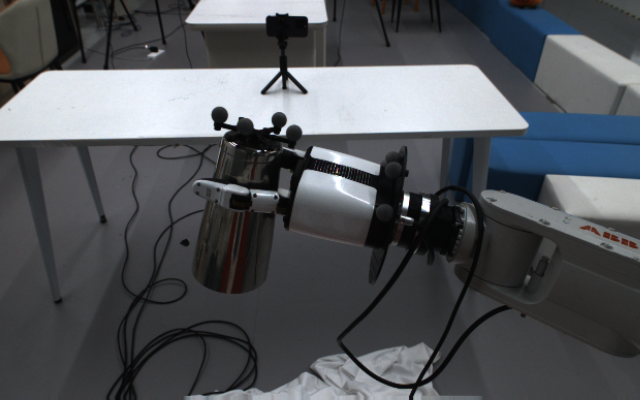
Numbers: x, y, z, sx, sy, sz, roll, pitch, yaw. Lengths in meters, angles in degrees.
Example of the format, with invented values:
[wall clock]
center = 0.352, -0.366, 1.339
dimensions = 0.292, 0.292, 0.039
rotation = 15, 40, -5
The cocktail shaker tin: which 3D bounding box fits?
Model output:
[cocktail shaker tin]
center = -0.087, 0.009, 0.556
dimensions = 0.093, 0.170, 0.093
rotation = 12, 25, -6
